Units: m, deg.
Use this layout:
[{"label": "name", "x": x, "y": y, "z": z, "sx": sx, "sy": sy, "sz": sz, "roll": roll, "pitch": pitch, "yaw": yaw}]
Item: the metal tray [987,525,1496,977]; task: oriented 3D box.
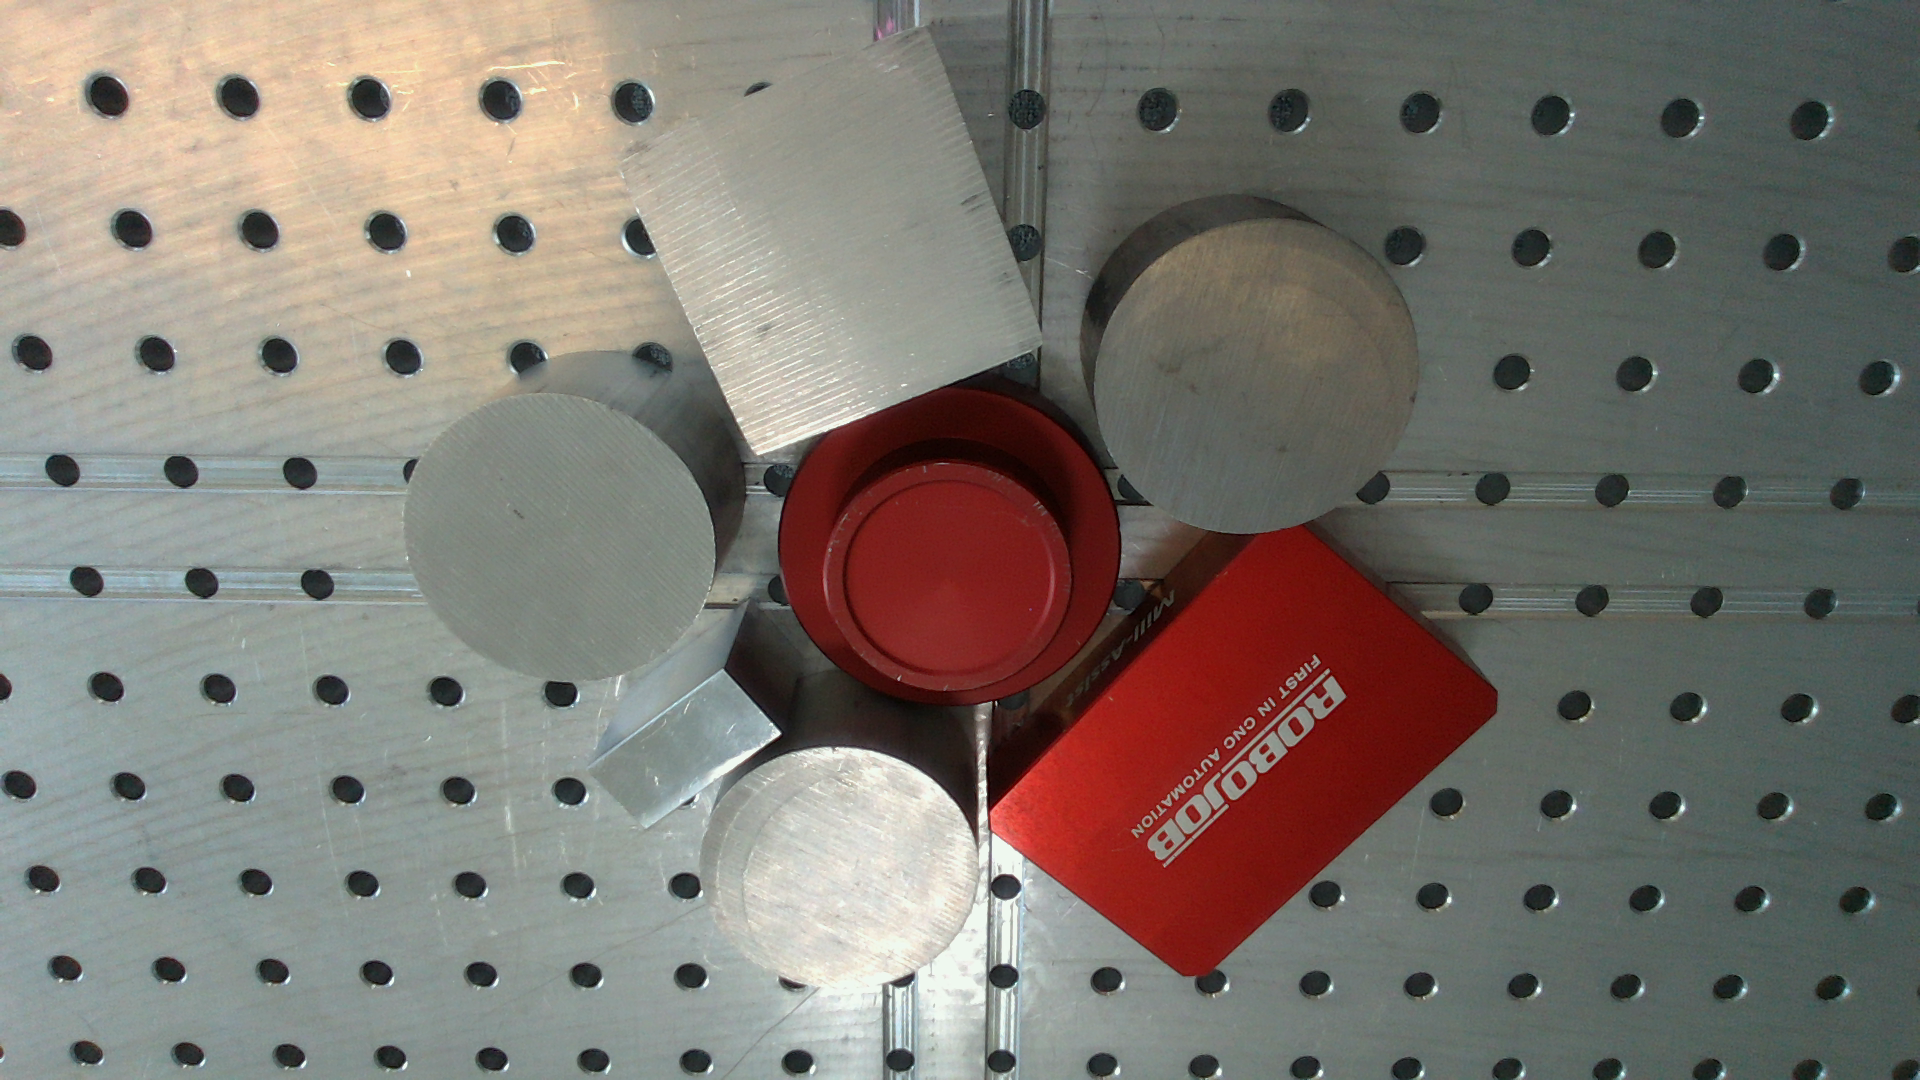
[{"label": "metal tray", "x": 0.081, "y": 0.060, "z": 0.415, "sx": 0.090, "sy": 0.030, "sz": 0.130, "roll": 39, "pitch": 105, "yaw": -13}]

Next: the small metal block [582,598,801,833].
[{"label": "small metal block", "x": -0.076, "y": 0.050, "z": 0.400, "sx": 0.050, "sy": 0.050, "sz": 0.025, "roll": -36, "pitch": 106, "yaw": 12}]

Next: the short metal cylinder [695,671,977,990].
[{"label": "short metal cylinder", "x": -0.035, "y": 0.086, "z": 0.414, "sx": 0.080, "sy": 0.050, "sz": 0.080, "roll": 0, "pitch": 110, "yaw": 0}]

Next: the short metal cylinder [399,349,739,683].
[{"label": "short metal cylinder", "x": -0.104, "y": -0.008, "z": 0.379, "sx": 0.080, "sy": 0.050, "sz": 0.080, "roll": 0, "pitch": 110, "yaw": 0}]

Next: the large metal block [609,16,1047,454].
[{"label": "large metal block", "x": -0.030, "y": -0.079, "z": 0.354, "sx": 0.080, "sy": 0.050, "sz": 0.080, "roll": -20, "pitch": 109, "yaw": 7}]

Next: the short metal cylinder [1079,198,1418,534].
[{"label": "short metal cylinder", "x": 0.074, "y": -0.048, "z": 0.365, "sx": 0.080, "sy": 0.050, "sz": 0.080, "roll": 0, "pitch": 110, "yaw": 0}]

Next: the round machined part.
[{"label": "round machined part", "x": -0.003, "y": 0.004, "z": 0.388, "sx": 0.098, "sy": 0.042, "sz": 0.098, "roll": 0, "pitch": 110, "yaw": 0}]
